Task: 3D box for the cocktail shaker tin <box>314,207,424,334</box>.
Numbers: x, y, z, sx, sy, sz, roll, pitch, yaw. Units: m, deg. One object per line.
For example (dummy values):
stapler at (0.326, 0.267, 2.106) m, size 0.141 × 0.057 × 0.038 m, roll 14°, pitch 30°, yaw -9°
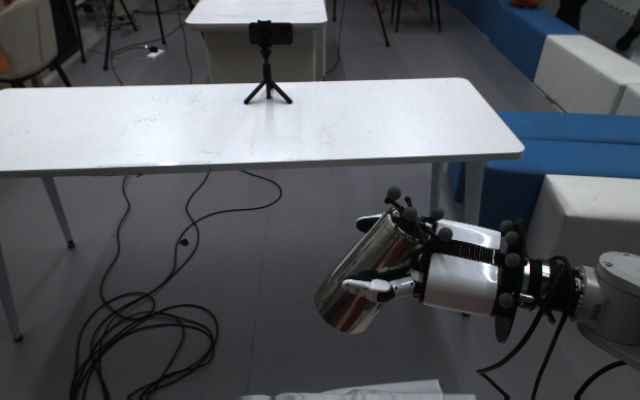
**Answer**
cocktail shaker tin at (0.072, 0.087, 0.651) m, size 0.093 × 0.170 × 0.093 m, roll 26°, pitch 32°, yaw -17°
